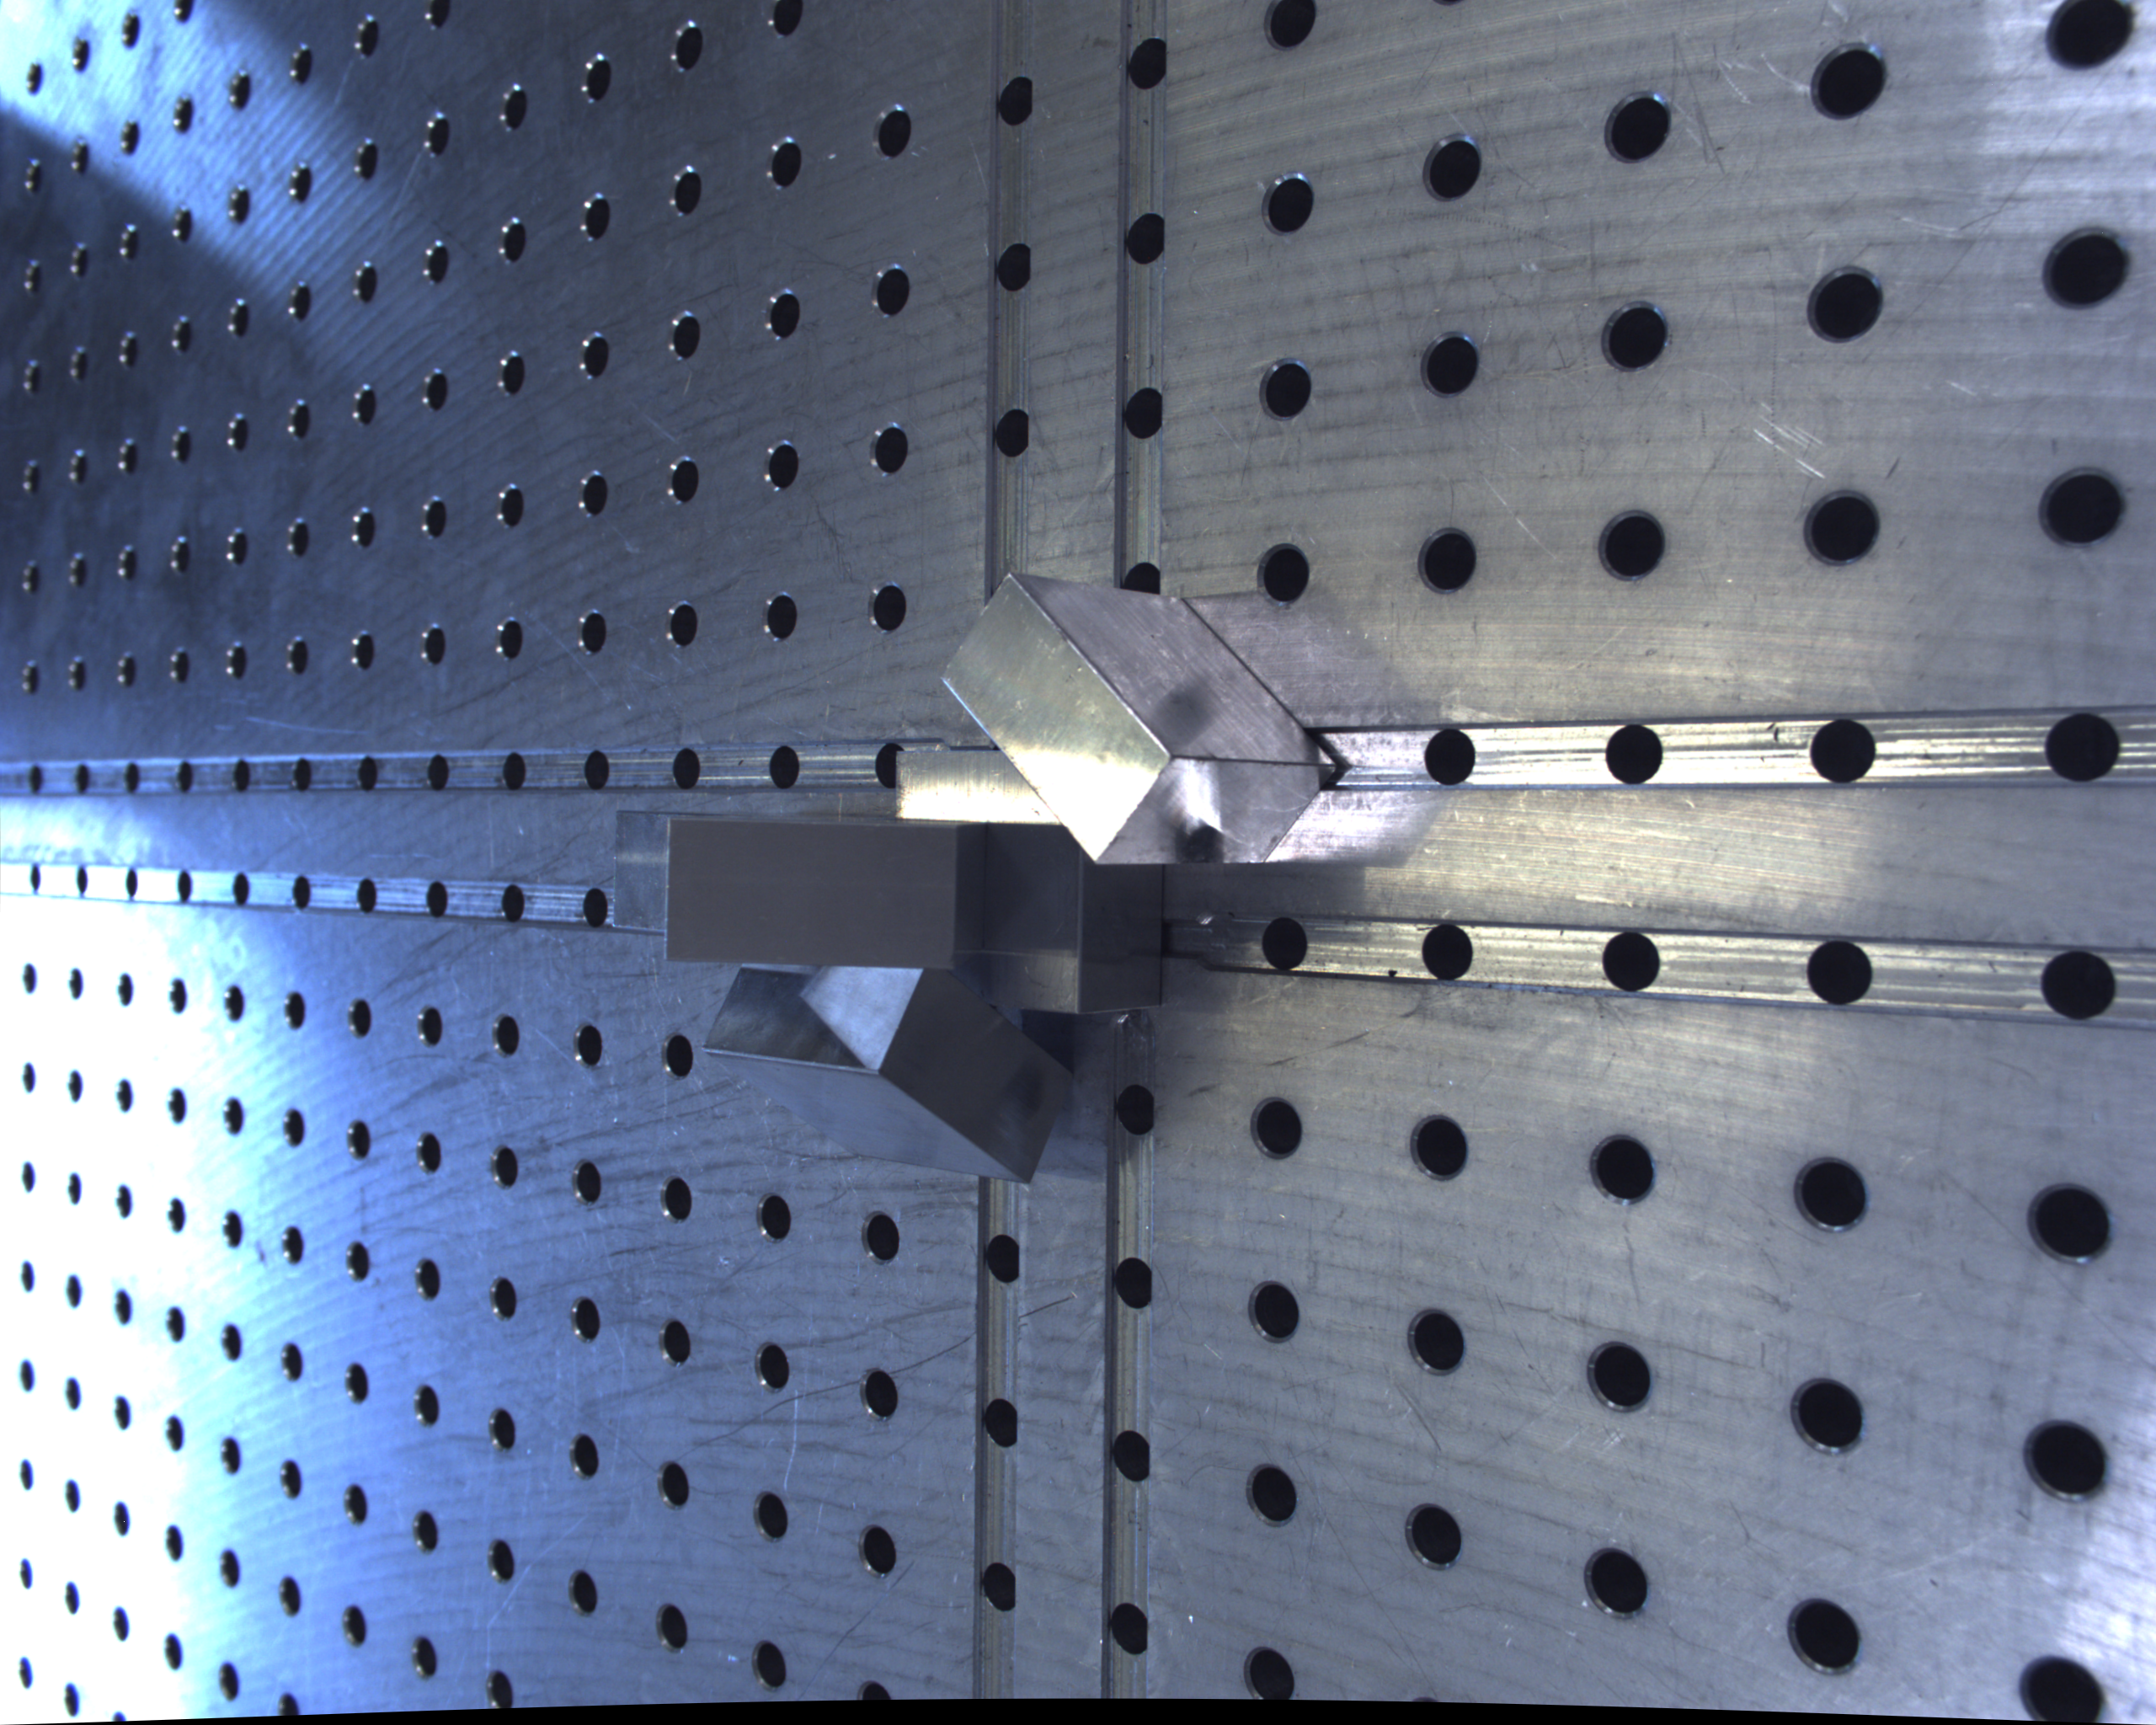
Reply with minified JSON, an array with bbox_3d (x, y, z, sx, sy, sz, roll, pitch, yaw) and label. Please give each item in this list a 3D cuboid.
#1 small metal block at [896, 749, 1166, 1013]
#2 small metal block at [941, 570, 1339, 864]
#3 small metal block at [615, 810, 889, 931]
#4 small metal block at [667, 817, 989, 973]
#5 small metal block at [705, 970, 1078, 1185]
[{"bbox_3d":[-0.010,0.003,0.419,0.050,0.025,0.050,2,91,39],"label":"small metal block"},{"bbox_3d":[0.012,-0.026,0.384,0.050,0.050,0.025,51,119,28],"label":"small metal block"},{"bbox_3d":[-0.063,0.002,0.445,0.050,0.050,0.025,2,92,40],"label":"small metal block"},{"bbox_3d":[-0.044,0.005,0.385,0.050,0.050,0.025,2,92,3],"label":"small metal block"},{"bbox_3d":[-0.037,0.040,0.422,0.050,0.050,0.025,2,60,40],"label":"small metal block"}]
